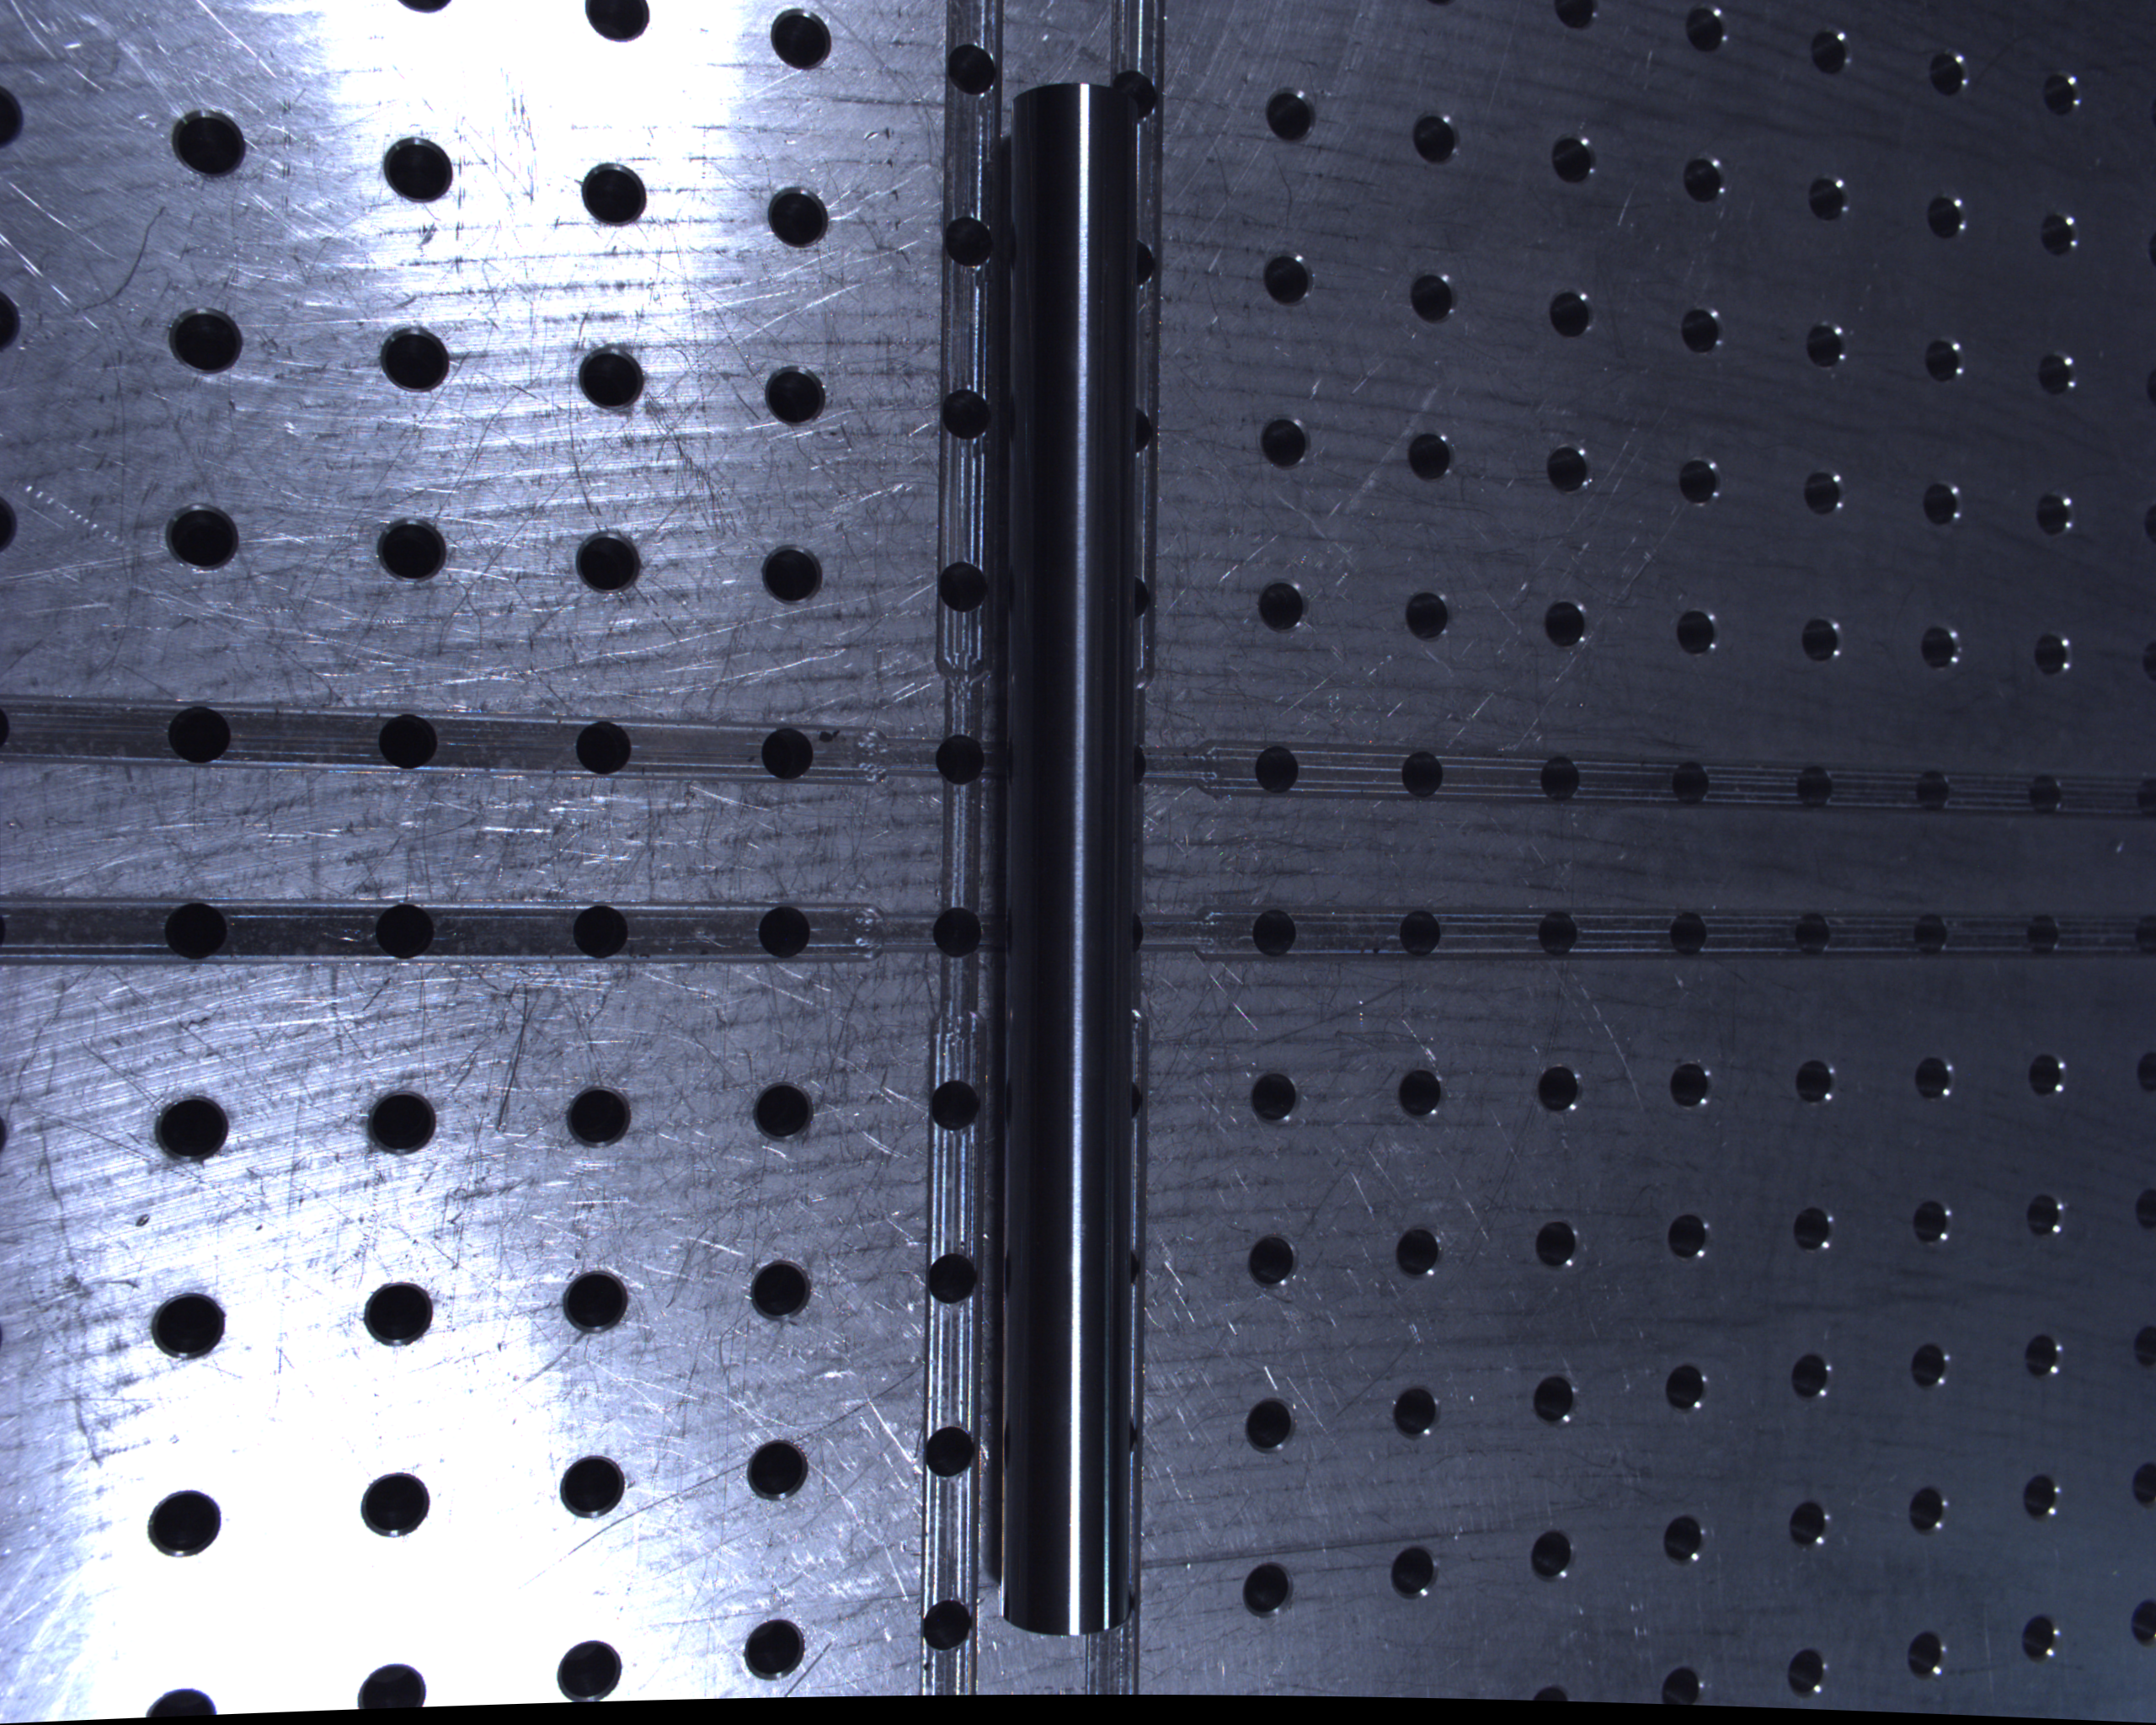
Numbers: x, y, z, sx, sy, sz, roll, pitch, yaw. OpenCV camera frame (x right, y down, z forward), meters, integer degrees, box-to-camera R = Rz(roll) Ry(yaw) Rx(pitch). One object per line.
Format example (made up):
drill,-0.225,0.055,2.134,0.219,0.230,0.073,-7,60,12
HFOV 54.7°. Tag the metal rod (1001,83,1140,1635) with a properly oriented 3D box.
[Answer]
metal rod,-0.001,-0.001,0.413,0.025,0.025,0.298,0,90,-20
